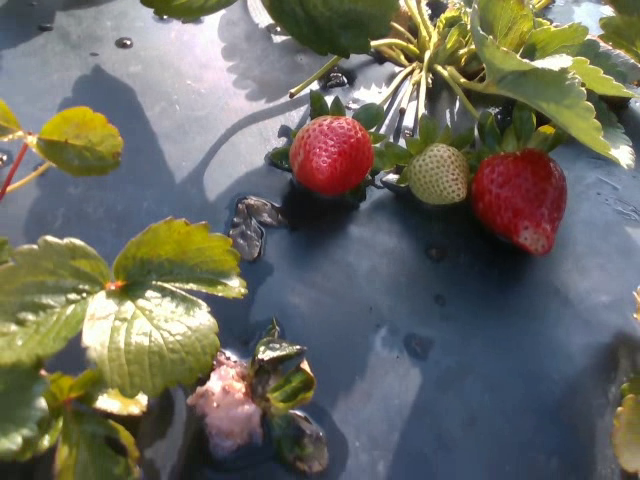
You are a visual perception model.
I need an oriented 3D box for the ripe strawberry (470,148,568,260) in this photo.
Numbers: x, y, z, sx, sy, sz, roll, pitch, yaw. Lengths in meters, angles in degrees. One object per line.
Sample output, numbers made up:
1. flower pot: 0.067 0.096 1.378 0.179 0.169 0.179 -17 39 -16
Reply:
1. ripe strawberry: 0.096 -0.016 0.301 0.048 0.065 0.050 -20 -36 29
